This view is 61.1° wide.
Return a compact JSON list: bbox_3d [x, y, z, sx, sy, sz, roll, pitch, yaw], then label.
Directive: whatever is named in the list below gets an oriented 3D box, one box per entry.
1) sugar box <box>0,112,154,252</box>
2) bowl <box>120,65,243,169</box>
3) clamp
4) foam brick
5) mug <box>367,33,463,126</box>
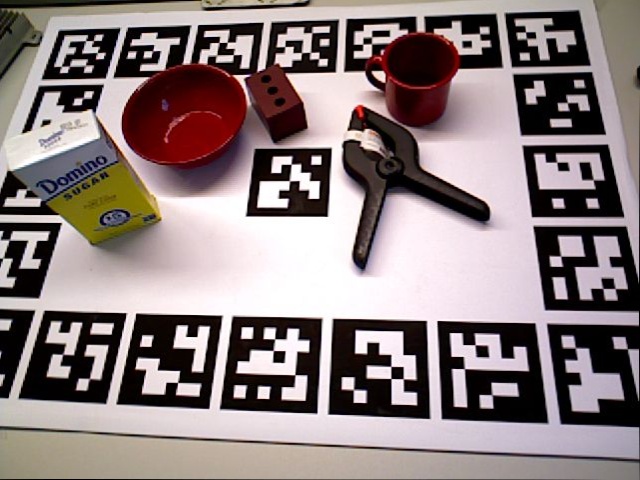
[{"bbox_3d":[-0.254,-0.054,0.591,0.092,0.179,0.045,-22,66,-8],"label":"sugar box"},{"bbox_3d":[-0.173,-0.147,0.693,0.161,0.056,0.160,-2,65,4],"label":"bowl"},{"bbox_3d":[0.077,-0.078,0.640,0.164,0.037,0.201,-22,66,-2],"label":"clamp"},{"bbox_3d":[-0.056,-0.168,0.699,0.052,0.052,0.077,-25,66,-6],"label":"foam brick"},{"bbox_3d":[0.112,-0.202,0.672,0.117,0.082,0.092,25,69,12],"label":"mug"}]
